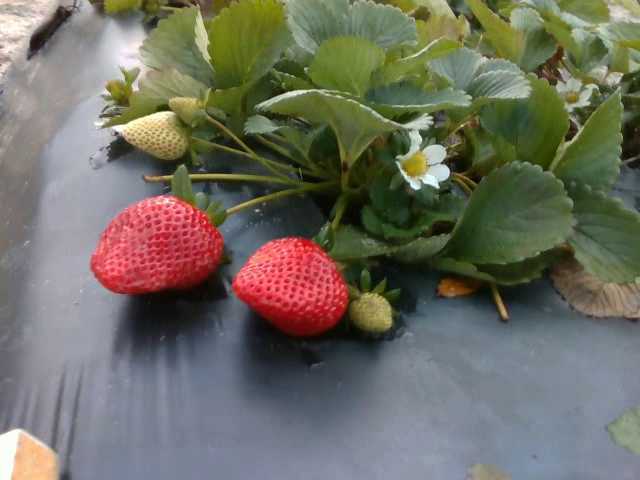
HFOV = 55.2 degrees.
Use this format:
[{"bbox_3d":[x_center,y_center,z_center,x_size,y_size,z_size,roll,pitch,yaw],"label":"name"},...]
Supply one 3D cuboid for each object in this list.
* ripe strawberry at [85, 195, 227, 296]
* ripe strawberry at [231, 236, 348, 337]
[{"bbox_3d":[-0.080,0.006,0.276,0.059,0.043,0.065,-11,25,34],"label":"ripe strawberry"},{"bbox_3d":[-0.017,0.019,0.259,0.051,0.051,0.060,-15,-9,30],"label":"ripe strawberry"}]
